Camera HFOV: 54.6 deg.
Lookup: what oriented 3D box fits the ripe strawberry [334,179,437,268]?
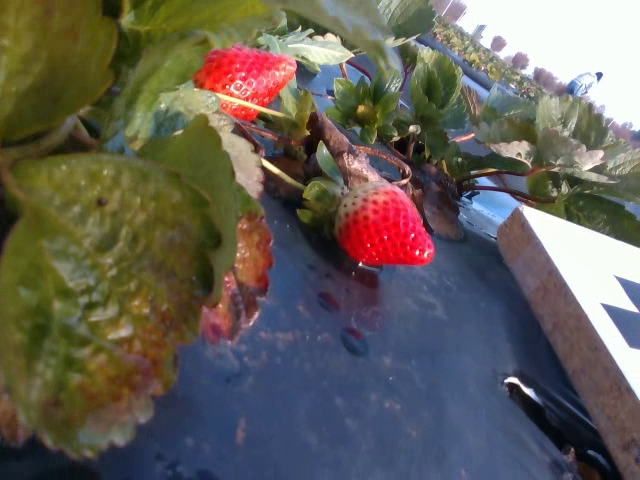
[{"bbox_3d":[0.024,-0.004,0.216,0.043,0.030,0.035,44,33,22],"label":"ripe strawberry"}]

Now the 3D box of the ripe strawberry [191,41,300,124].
[{"bbox_3d":[-0.032,-0.069,0.246,0.048,0.040,0.032,-23,-38,-4],"label":"ripe strawberry"}]
